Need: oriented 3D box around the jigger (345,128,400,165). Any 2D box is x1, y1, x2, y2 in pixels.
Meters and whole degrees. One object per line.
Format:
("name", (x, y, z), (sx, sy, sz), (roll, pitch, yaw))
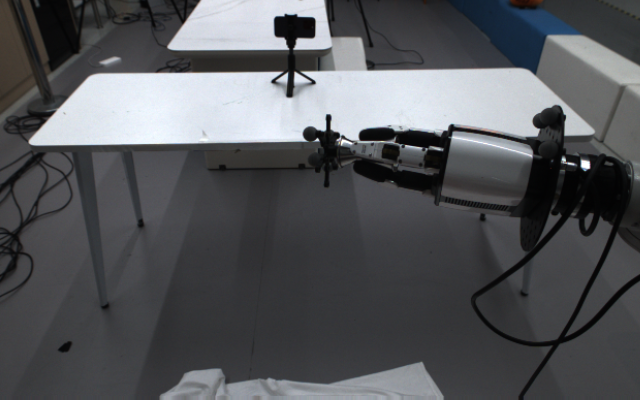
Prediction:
("jigger", (0.065, -0.061, 0.580), (0.071, 0.043, 0.043), (3, 34, 18))
